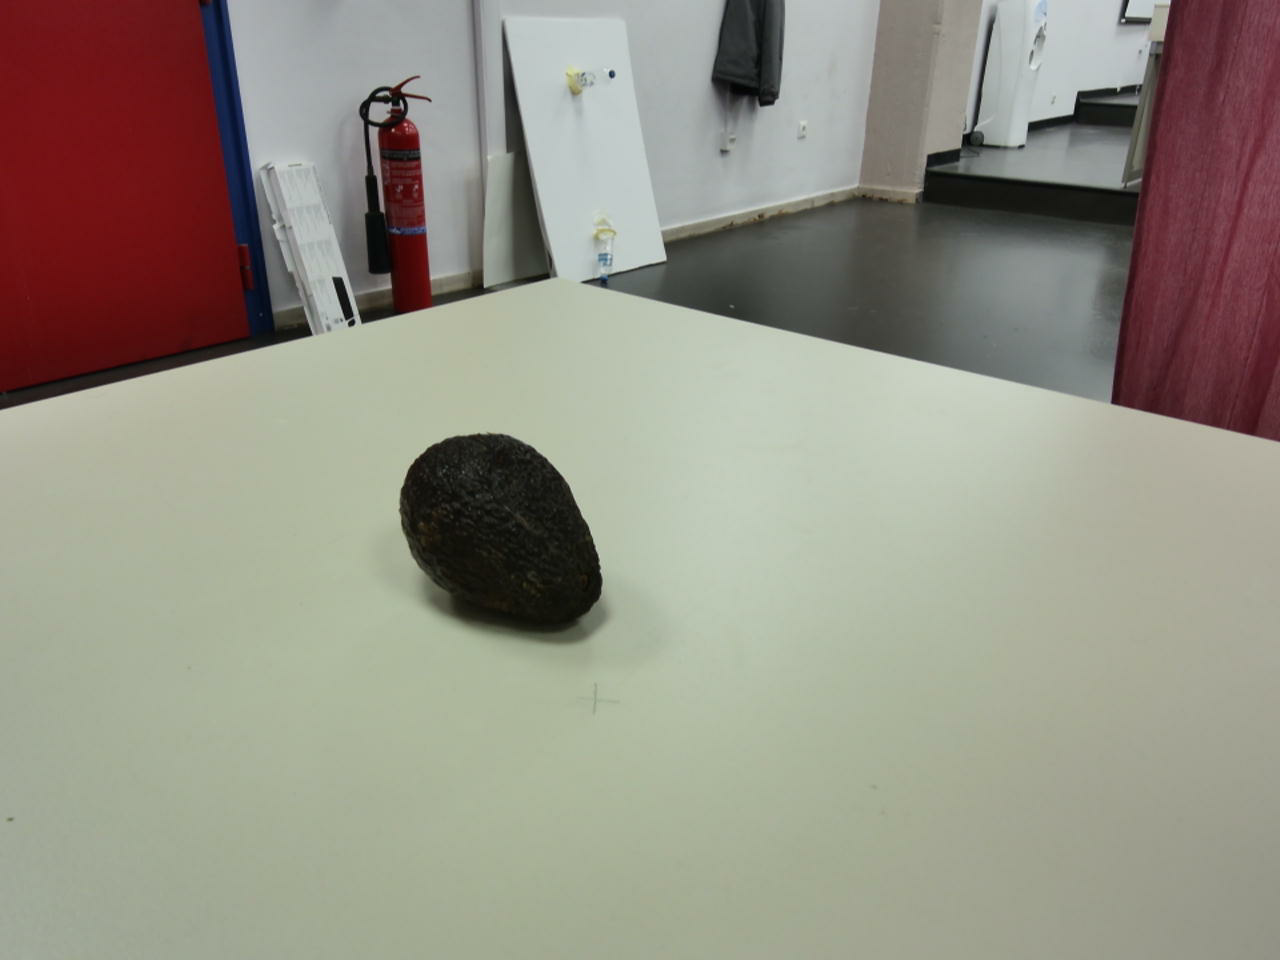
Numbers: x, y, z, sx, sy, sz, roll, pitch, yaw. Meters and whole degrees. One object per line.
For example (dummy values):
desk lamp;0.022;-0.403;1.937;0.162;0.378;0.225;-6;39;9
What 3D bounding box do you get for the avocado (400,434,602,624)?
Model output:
avocado;-0.059;0.018;0.407;0.070;0.069;0.090;-10;25;-24
